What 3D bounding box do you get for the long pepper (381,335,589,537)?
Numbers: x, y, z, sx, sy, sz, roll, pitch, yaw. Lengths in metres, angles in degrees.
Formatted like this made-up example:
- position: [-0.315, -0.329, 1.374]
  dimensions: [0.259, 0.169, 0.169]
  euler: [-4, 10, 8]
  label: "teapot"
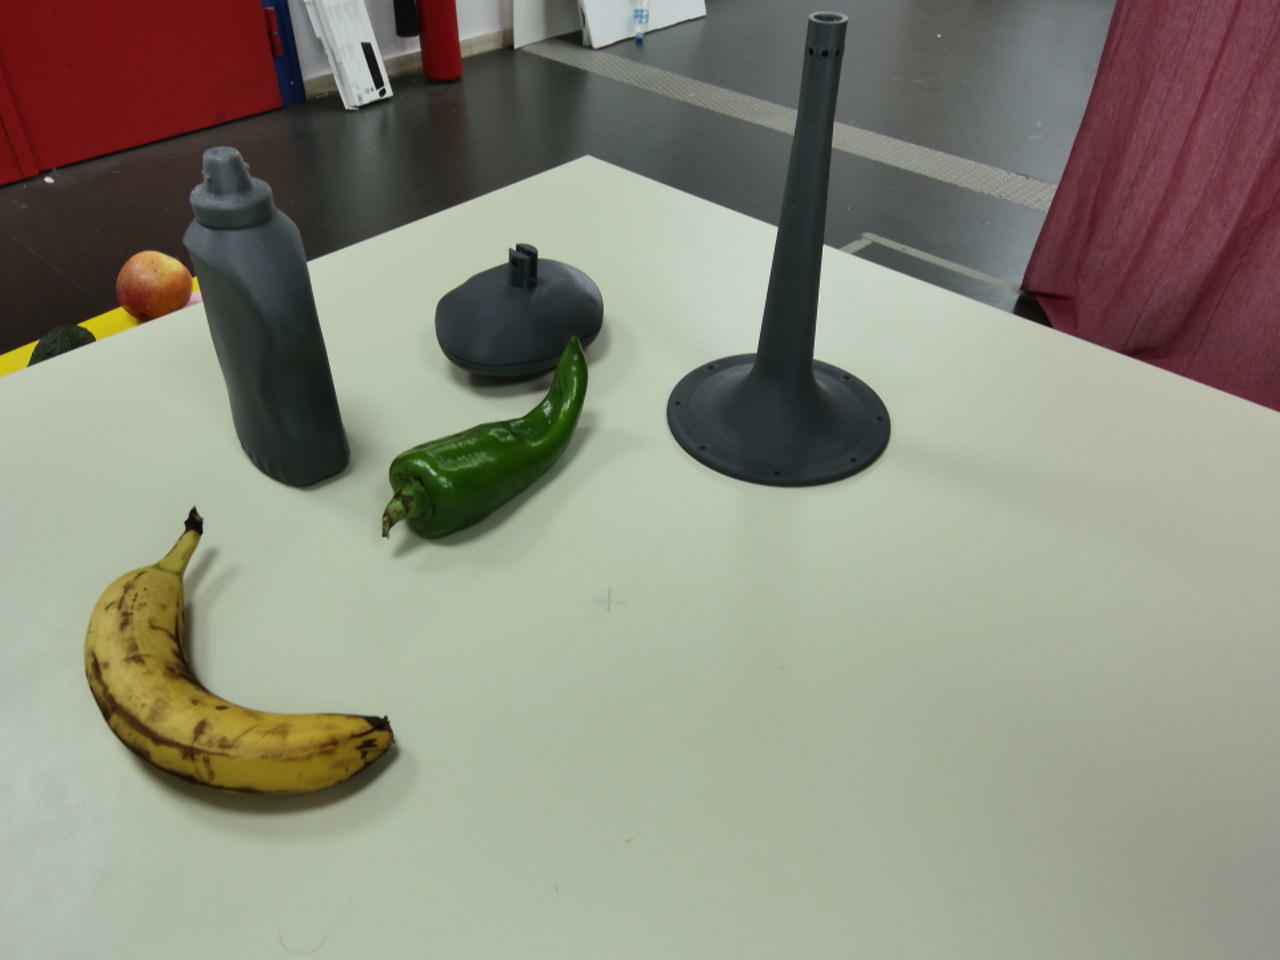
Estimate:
- position: [-0.085, -0.023, 0.587]
  dimensions: [0.058, 0.065, 0.175]
  euler: [27, 45, 30]
  label: "long pepper"
